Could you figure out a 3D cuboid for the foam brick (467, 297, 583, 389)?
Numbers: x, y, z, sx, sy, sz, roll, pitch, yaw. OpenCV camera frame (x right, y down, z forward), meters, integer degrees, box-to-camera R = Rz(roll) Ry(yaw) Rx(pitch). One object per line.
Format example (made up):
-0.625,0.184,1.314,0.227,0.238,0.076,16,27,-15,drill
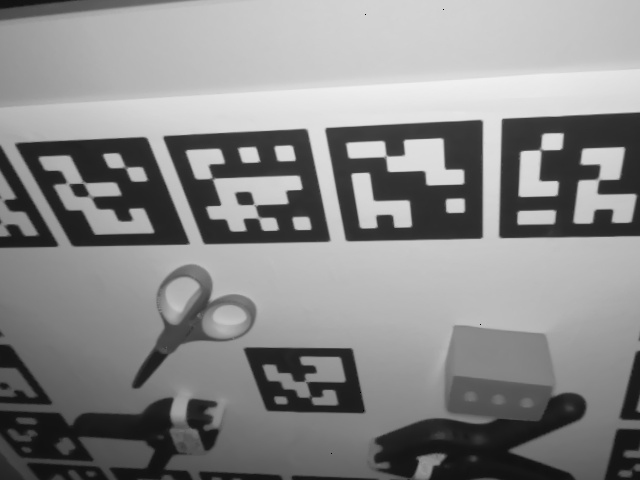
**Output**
0.165,0.083,0.566,0.078,0.052,0.052,2,128,1,foam brick

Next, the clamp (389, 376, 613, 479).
0.166,0.186,0.655,0.202,0.037,0.164,-4,131,13,clamp

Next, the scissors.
-0.113,0.067,0.609,0.088,0.016,0.199,34,127,-9,scissors

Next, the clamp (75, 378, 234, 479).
-0.155,0.183,0.704,0.163,0.037,0.122,-26,114,25,clamp
